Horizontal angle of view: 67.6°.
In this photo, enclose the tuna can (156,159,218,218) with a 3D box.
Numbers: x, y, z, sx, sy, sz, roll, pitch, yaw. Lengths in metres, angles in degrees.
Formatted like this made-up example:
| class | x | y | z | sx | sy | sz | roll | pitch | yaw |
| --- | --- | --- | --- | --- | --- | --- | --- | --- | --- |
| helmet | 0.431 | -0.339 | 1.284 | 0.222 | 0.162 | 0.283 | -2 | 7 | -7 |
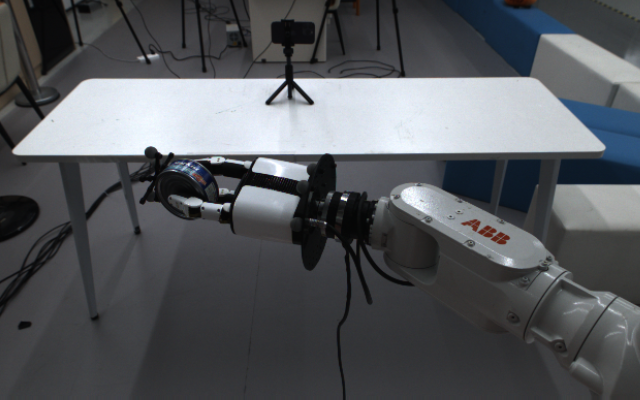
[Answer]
| class | x | y | z | sx | sy | sz | roll | pitch | yaw |
| --- | --- | --- | --- | --- | --- | --- | --- | --- | --- |
| tuna can | -0.189 | -0.017 | 0.692 | 0.085 | 0.085 | 0.034 | 10 | 36 | 11 |
